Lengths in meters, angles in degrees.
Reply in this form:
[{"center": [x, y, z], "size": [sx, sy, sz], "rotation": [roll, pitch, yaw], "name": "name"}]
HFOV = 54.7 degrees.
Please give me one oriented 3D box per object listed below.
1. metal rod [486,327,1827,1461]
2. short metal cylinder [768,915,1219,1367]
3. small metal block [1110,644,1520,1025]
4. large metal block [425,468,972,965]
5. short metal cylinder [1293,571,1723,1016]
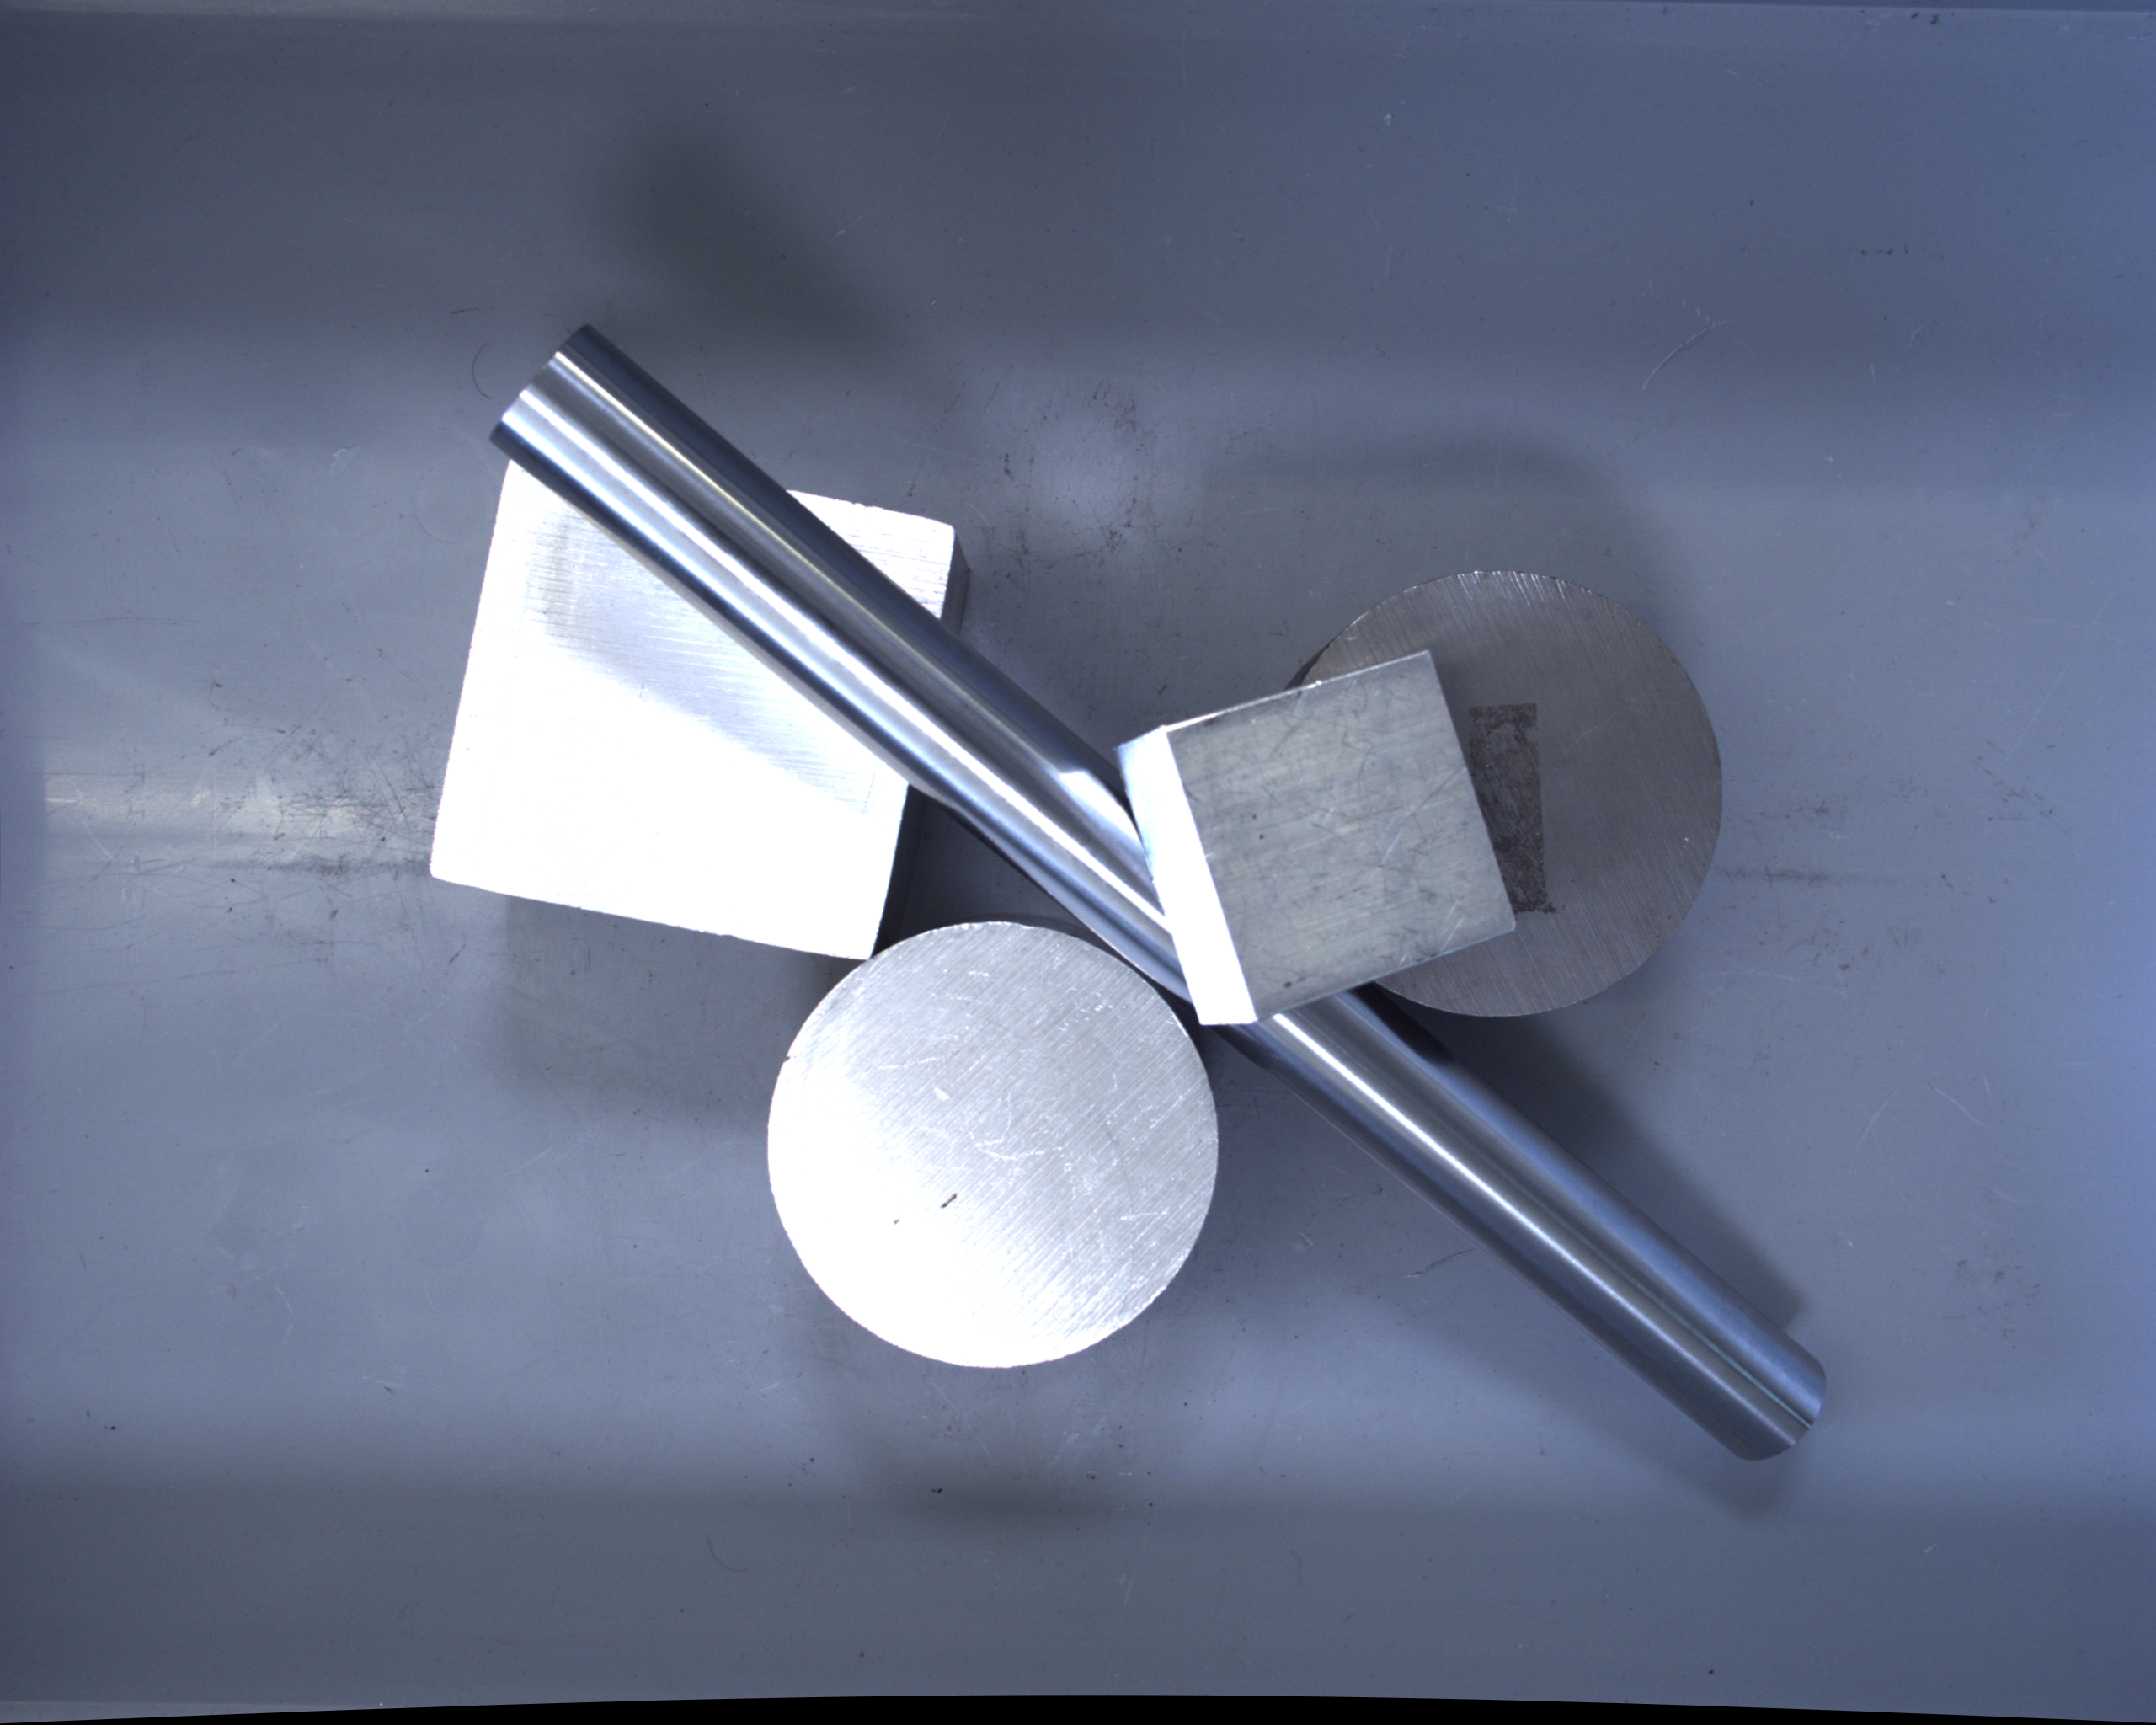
[{"center": [0.025, 0.015, 0.375], "size": [0.301, 0.025, 0.025], "rotation": [39, 90, -14], "name": "metal rod"}, {"center": [-0.015, 0.050, 0.397], "size": [0.081, 0.050, 0.079], "rotation": [0, 90, 0], "name": "short metal cylinder"}, {"center": [0.040, -0.004, 0.353], "size": [0.050, 0.025, 0.050], "rotation": [-18, 90, -18], "name": "small metal block"}, {"center": [-0.068, -0.029, 0.395], "size": [0.080, 0.050, 0.080], "rotation": [11, 90, 0], "name": "large metal block"}, {"center": [0.075, -0.013, 0.398], "size": [0.081, 0.050, 0.079], "rotation": [0, 90, 0], "name": "short metal cylinder"}]
